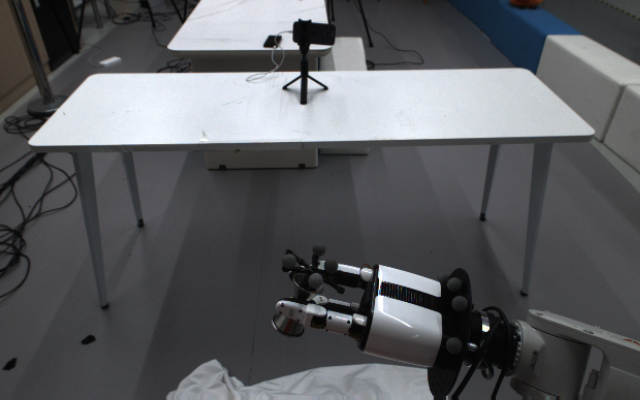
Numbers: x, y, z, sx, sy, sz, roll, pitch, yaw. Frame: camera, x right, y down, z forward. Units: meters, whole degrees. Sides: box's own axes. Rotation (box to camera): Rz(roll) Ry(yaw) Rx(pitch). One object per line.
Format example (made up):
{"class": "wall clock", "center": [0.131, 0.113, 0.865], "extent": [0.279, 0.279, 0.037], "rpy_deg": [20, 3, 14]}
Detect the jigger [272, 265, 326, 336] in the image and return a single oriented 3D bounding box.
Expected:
{"class": "jigger", "center": [-0.028, 0.129, 0.598], "extent": [0.043, 0.071, 0.043], "rpy_deg": [23, 19, -8]}
